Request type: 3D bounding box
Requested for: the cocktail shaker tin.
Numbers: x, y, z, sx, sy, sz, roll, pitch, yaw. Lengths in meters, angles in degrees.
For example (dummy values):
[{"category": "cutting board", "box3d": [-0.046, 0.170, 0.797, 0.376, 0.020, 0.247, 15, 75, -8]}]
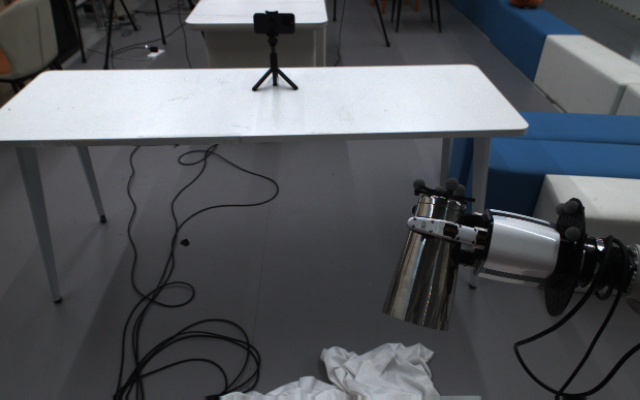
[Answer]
[{"category": "cocktail shaker tin", "box3d": [0.153, 0.080, 0.674, 0.093, 0.170, 0.093, 15, -5, 1]}]
